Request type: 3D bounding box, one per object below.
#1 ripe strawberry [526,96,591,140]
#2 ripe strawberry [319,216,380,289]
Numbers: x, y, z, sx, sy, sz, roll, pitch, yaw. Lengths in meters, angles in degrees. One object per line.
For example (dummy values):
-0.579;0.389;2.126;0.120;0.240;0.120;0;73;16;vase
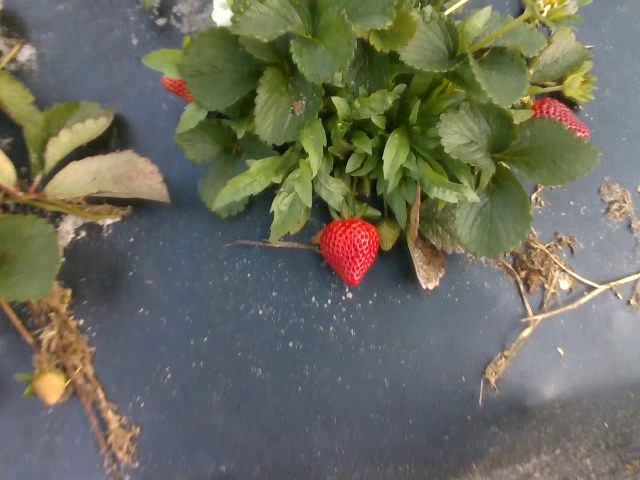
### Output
0.158;-0.075;0.389;0.046;0.043;0.046;17;13;20;ripe strawberry
0.018;0.008;0.376;0.043;0.051;0.043;-4;-11;-6;ripe strawberry
